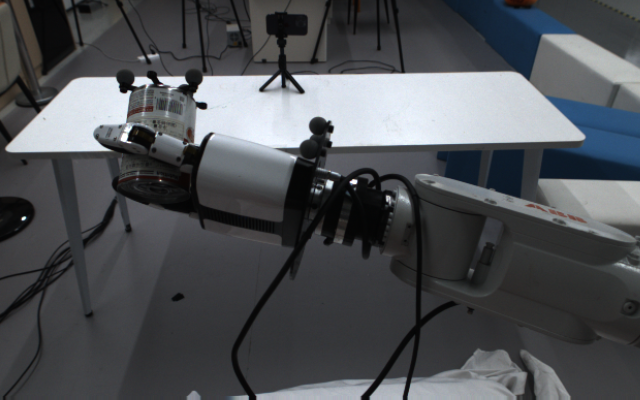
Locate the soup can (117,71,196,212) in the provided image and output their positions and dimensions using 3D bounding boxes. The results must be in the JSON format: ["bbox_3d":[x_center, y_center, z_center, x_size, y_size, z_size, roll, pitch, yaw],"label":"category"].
[{"bbox_3d":[-0.159,-0.053,0.480,0.067,0.067,0.101,1,72,-2],"label":"soup can"}]
